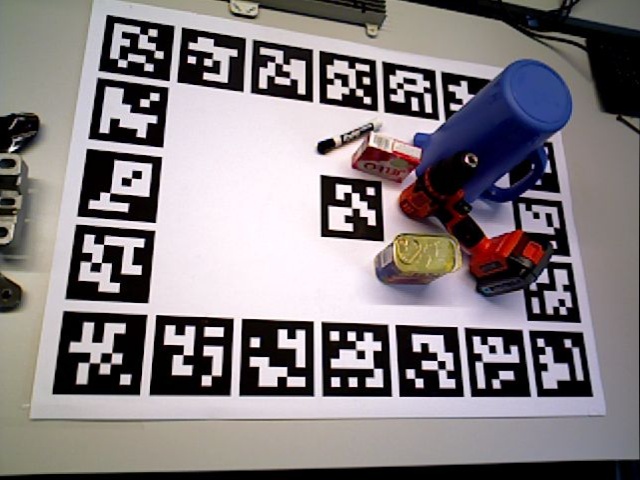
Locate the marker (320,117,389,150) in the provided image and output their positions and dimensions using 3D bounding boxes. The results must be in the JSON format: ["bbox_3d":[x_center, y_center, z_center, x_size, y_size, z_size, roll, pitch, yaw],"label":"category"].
[{"bbox_3d":[0.053,-0.166,0.848,0.119,0.020,0.019,-22,80,-19],"label":"marker"}]

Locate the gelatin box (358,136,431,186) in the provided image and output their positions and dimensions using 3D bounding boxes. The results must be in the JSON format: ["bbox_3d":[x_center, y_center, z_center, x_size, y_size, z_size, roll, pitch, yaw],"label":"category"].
[{"bbox_3d":[0.111,-0.117,0.822,0.089,0.074,0.030,16,72,-12],"label":"gelatin box"}]

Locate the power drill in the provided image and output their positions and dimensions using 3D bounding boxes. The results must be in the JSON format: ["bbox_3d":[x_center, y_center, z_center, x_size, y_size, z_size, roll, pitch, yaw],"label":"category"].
[{"bbox_3d":[0.218,-0.032,0.764,0.187,0.187,0.056,40,69,-7],"label":"power drill"}]

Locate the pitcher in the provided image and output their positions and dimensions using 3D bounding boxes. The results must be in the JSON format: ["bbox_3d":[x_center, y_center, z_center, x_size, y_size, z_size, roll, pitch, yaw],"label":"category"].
[{"bbox_3d":[0.271,-0.133,0.784,0.188,0.246,0.131,34,70,4],"label":"pitcher"}]

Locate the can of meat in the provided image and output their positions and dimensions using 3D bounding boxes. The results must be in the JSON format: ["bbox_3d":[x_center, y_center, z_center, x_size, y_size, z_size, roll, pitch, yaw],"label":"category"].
[{"bbox_3d":[0.140,0.038,0.773,0.101,0.085,0.057,4,69,-15],"label":"can of meat"}]
